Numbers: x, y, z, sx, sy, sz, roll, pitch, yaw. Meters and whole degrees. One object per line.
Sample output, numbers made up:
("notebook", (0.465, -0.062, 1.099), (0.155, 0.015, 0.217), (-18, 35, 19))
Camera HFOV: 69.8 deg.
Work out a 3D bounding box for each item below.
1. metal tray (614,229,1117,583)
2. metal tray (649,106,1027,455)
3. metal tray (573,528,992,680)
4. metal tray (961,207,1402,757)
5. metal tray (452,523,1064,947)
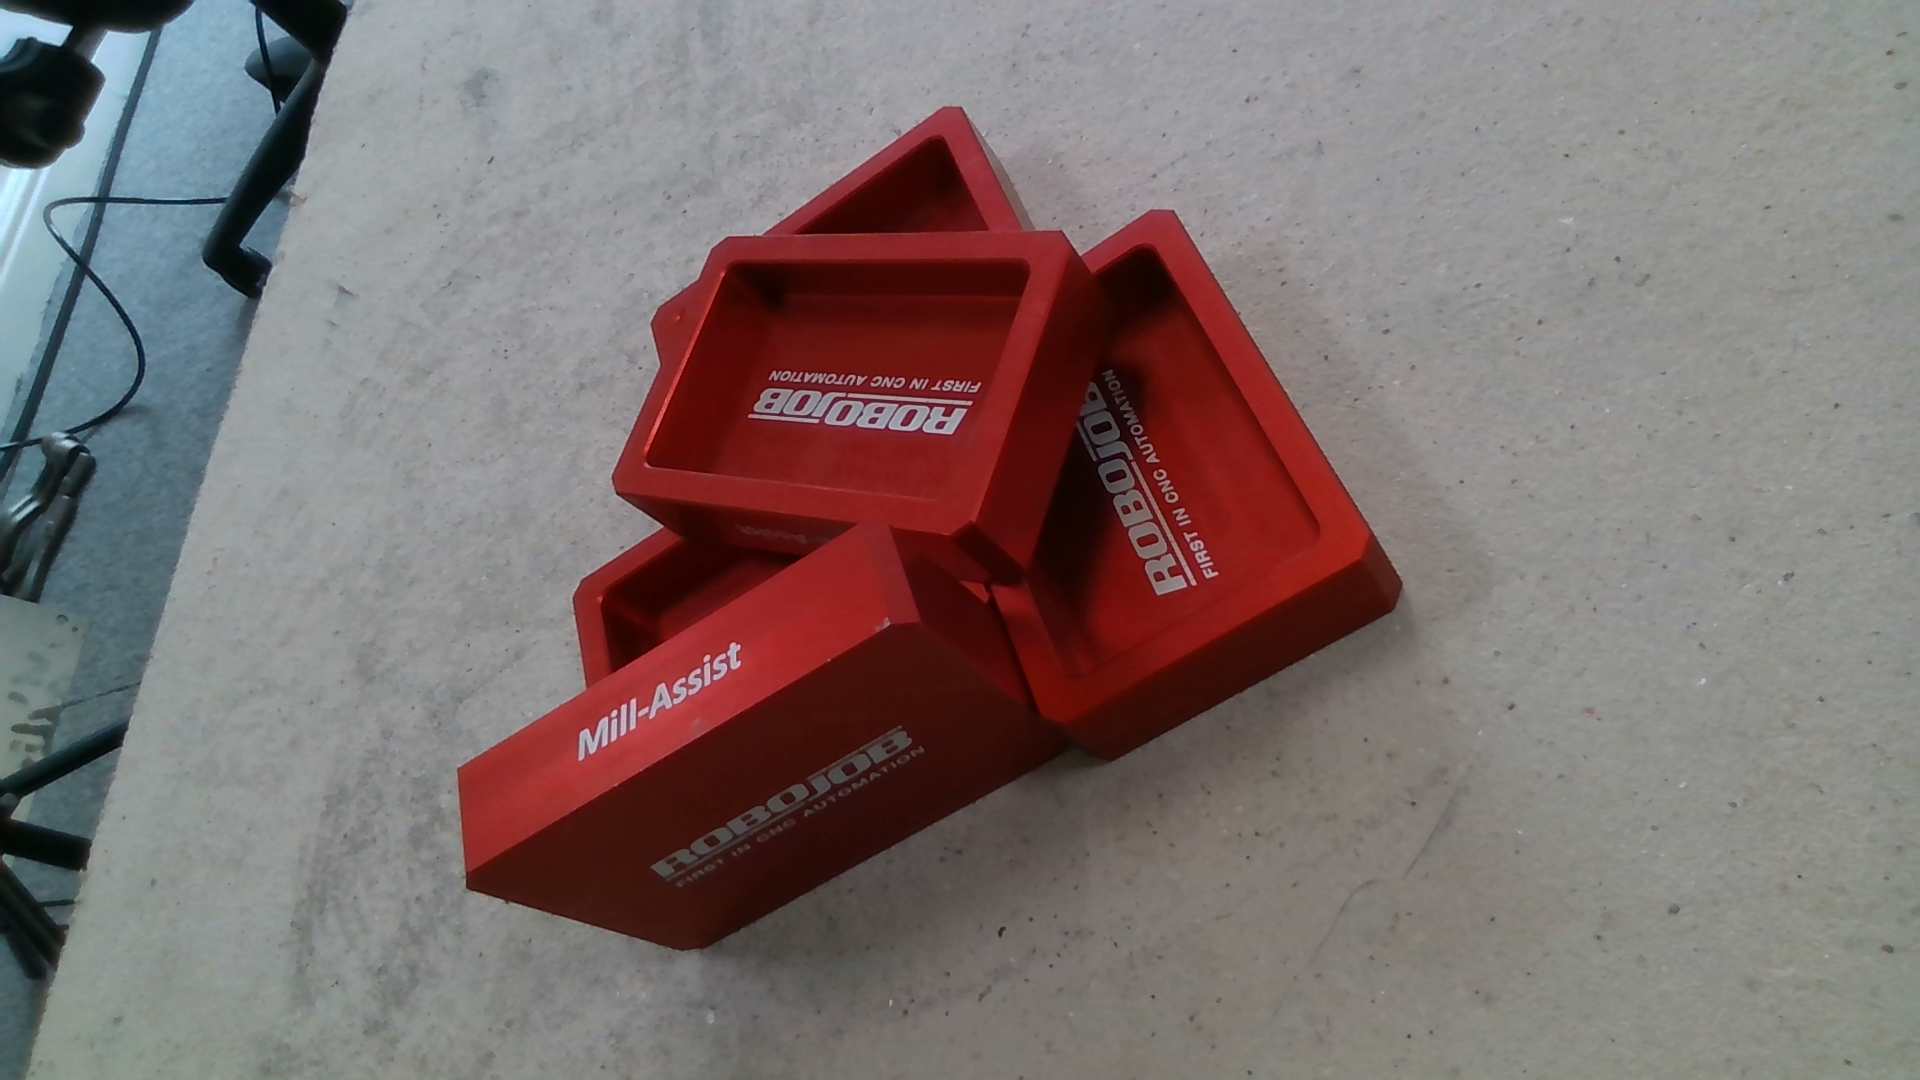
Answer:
("metal tray", (-0.030, -0.042, 0.393), (0.130, 0.030, 0.090), (8, 69, 35))
("metal tray", (-0.036, -0.072, 0.449), (0.130, 0.030, 0.090), (-31, 53, 14))
("metal tray", (-0.052, 0.021, 0.408), (0.130, 0.030, 0.090), (-32, 52, 15))
("metal tray", (0.047, -0.019, 0.372), (0.090, 0.030, 0.130), (-31, 53, 14))
("metal tray", (-0.049, 0.055, 0.349), (0.130, 0.090, 0.030), (-31, 53, 15))
